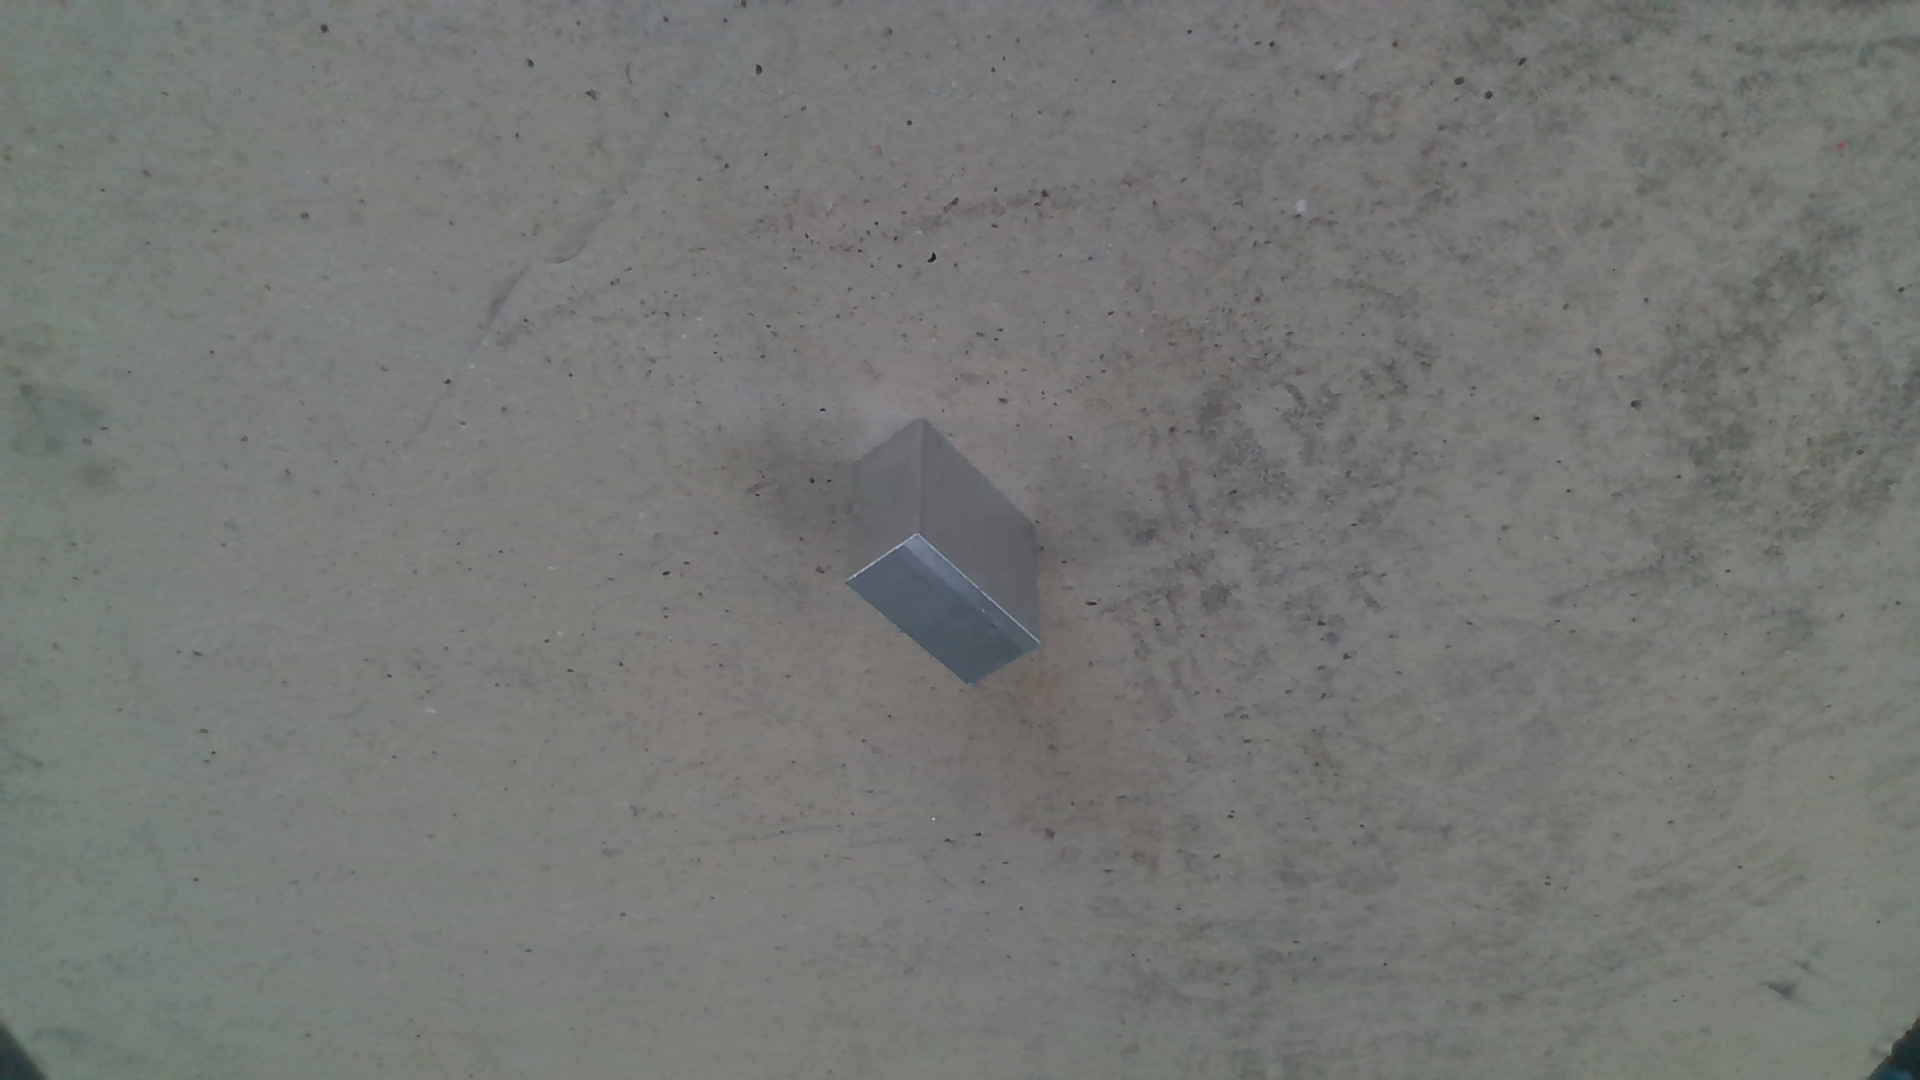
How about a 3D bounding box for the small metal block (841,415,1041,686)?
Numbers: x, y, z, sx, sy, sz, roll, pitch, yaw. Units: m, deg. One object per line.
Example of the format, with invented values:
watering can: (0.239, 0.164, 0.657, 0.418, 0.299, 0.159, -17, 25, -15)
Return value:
small metal block: (-0.004, 0.003, 0.374, 0.025, 0.050, 0.050, -33, 123, 25)
